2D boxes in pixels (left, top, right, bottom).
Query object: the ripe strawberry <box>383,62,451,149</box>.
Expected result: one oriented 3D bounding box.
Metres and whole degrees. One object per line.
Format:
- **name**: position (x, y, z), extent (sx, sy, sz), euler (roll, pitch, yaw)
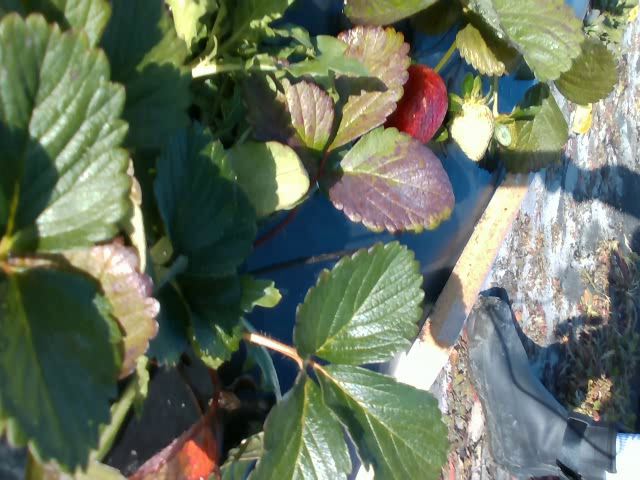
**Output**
- **ripe strawberry**: position (0.034, -0.052, 0.246), extent (0.036, 0.044, 0.054), euler (28, 21, 4)
